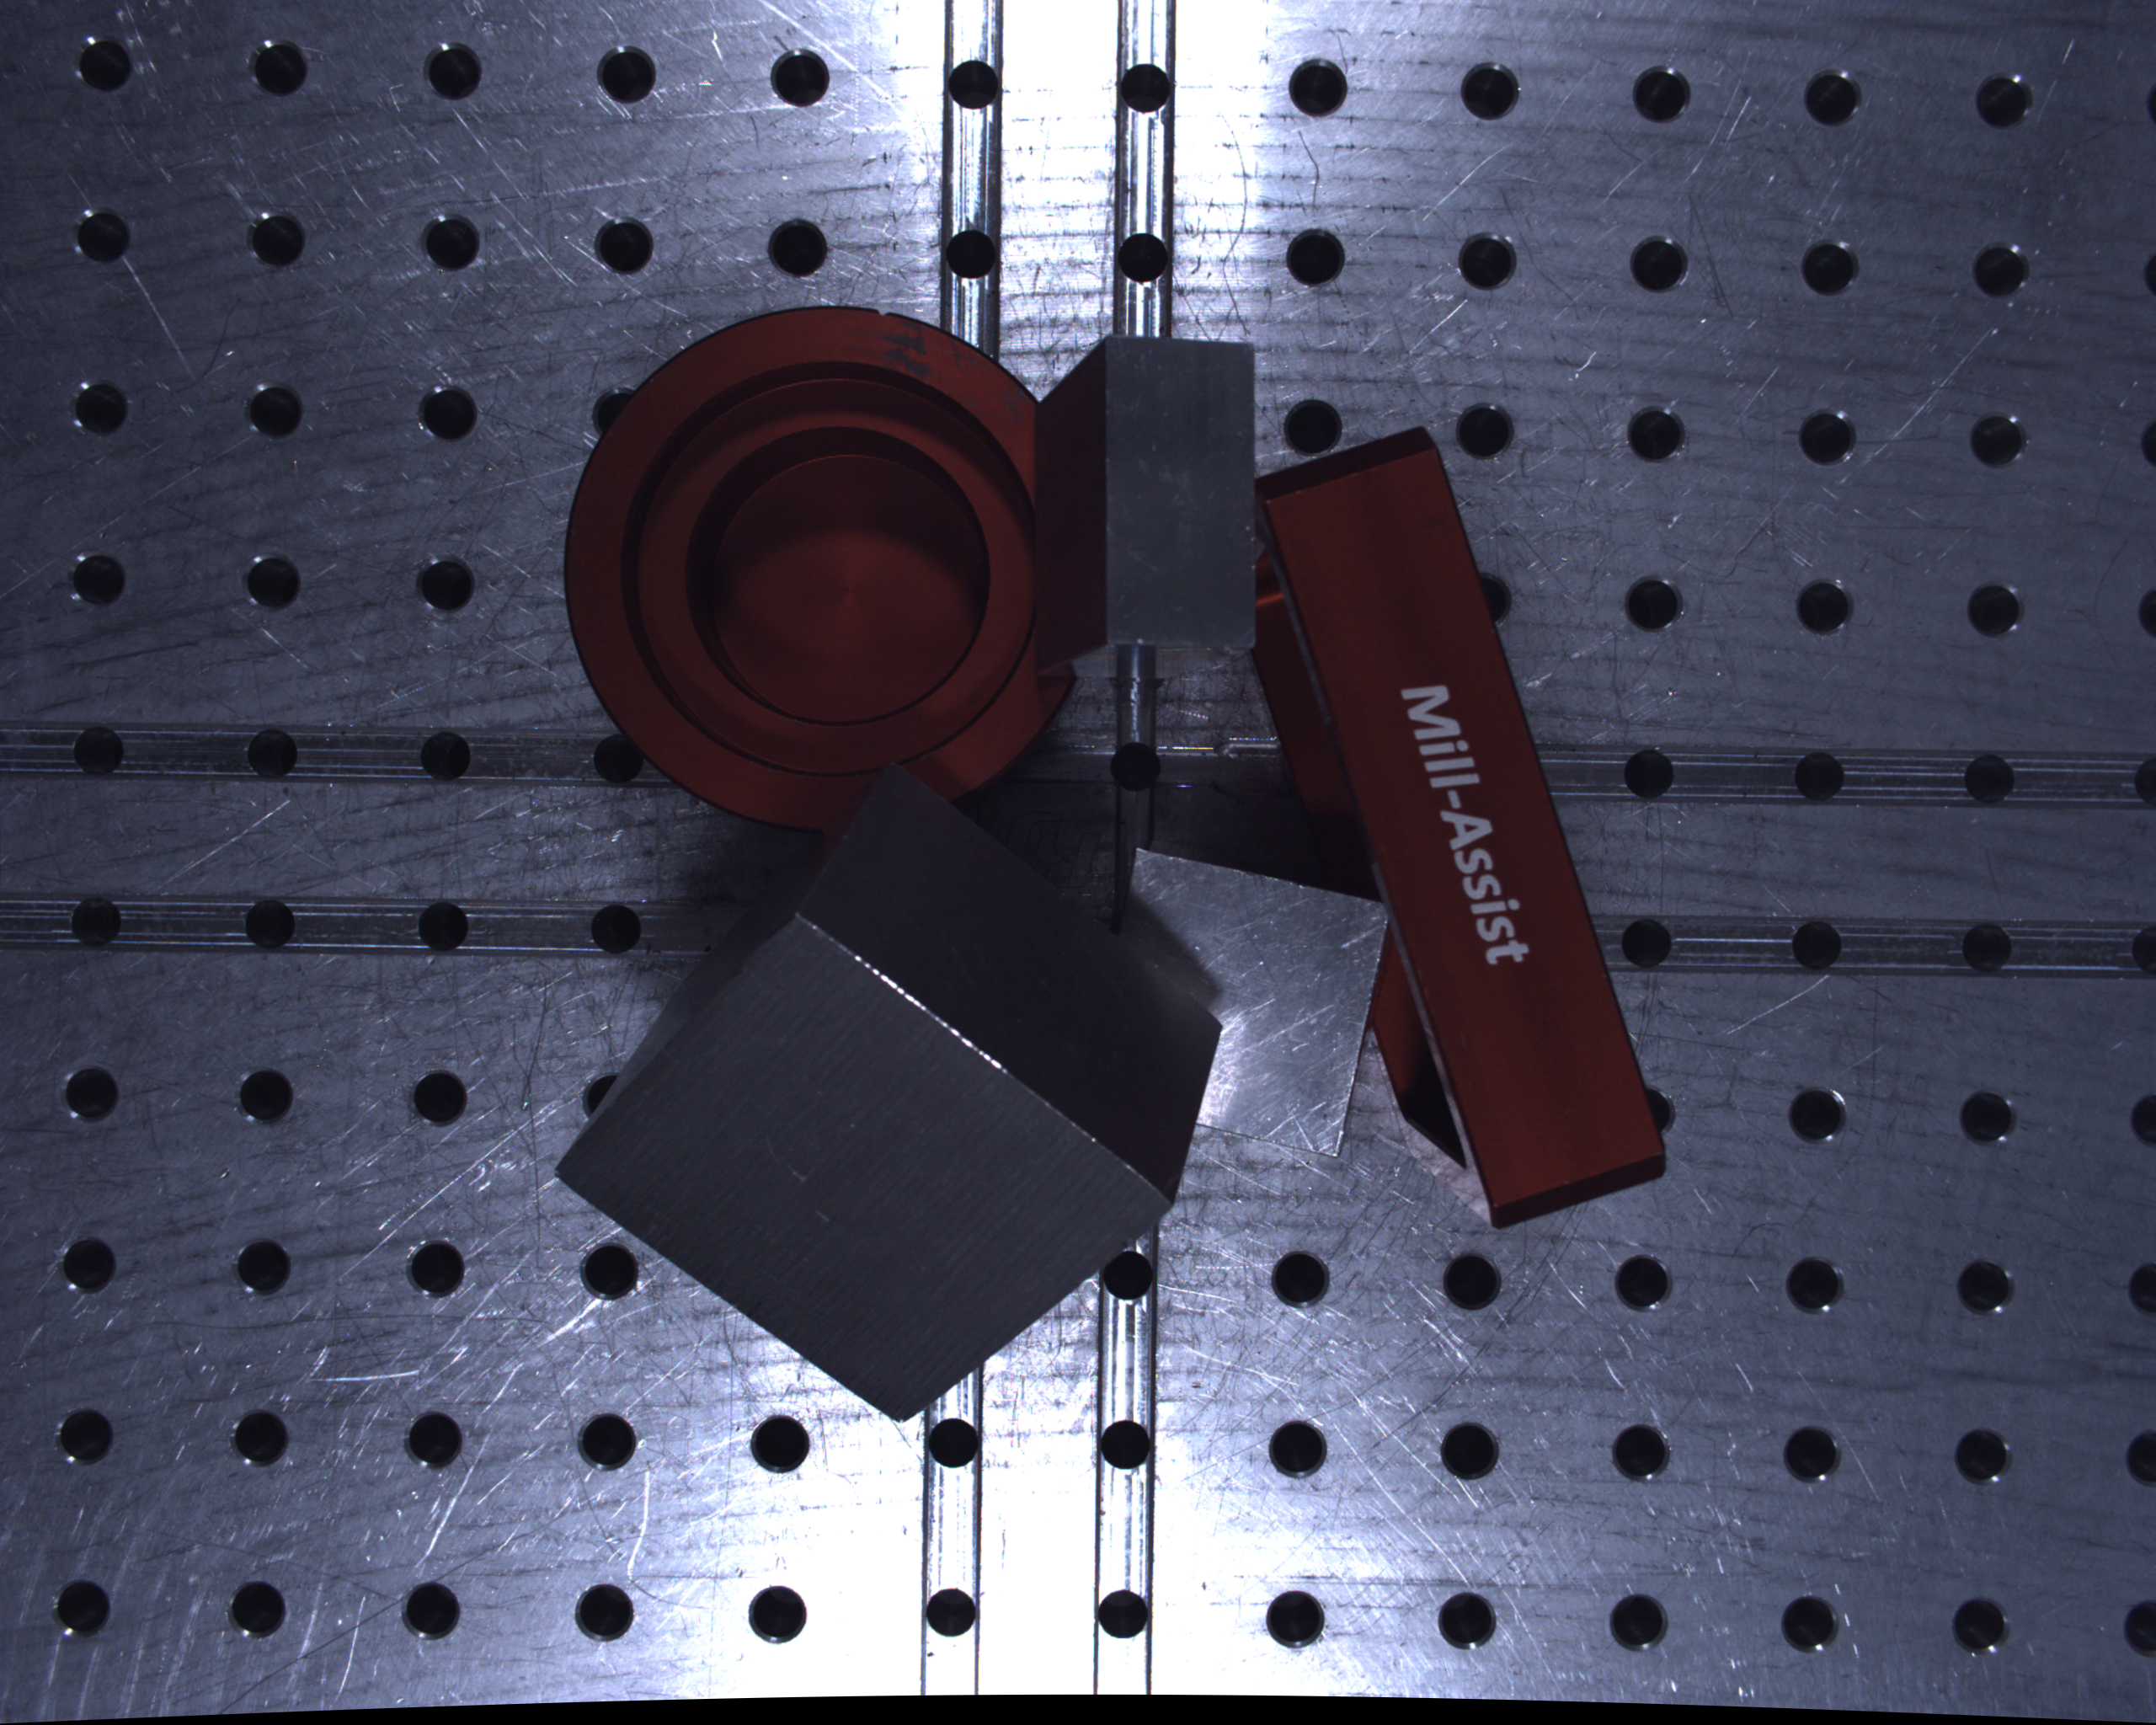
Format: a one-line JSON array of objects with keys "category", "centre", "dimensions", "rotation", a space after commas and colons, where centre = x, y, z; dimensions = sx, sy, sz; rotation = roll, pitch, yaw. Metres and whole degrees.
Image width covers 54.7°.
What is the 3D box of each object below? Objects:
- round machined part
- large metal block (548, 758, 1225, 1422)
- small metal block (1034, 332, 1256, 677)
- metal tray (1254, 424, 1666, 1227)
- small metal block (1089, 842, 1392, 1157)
[{"category": "round machined part", "centre": [-0.046, -0.054, 0.404], "dimensions": [0.099, 0.042, 0.097], "rotation": [0, 90, -1]}, {"category": "large metal block", "centre": [-0.033, 0.042, 0.378], "dimensions": [0.080, 0.050, 0.080], "rotation": [39, 122, -11]}, {"category": "small metal block", "centre": [0.010, -0.059, 0.360], "dimensions": [0.025, 0.050, 0.050], "rotation": [0, 89, -14]}, {"category": "metal tray", "centre": [0.063, -0.006, 0.382], "dimensions": [0.030, 0.090, 0.129], "rotation": [-18, 90, 0]}, {"category": "small metal block", "centre": [0.033, 0.026, 0.409], "dimensions": [0.050, 0.025, 0.050], "rotation": [12, 94, 10]}]
